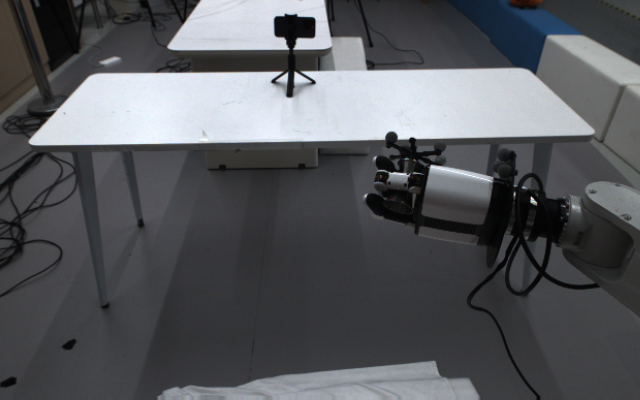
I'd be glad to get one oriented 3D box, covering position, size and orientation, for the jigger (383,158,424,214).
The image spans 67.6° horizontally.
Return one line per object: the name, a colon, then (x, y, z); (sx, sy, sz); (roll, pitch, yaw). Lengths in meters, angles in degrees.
jigger: (0.122, -0.020, 0.681); (0.043, 0.043, 0.071); (13, 69, 15)
